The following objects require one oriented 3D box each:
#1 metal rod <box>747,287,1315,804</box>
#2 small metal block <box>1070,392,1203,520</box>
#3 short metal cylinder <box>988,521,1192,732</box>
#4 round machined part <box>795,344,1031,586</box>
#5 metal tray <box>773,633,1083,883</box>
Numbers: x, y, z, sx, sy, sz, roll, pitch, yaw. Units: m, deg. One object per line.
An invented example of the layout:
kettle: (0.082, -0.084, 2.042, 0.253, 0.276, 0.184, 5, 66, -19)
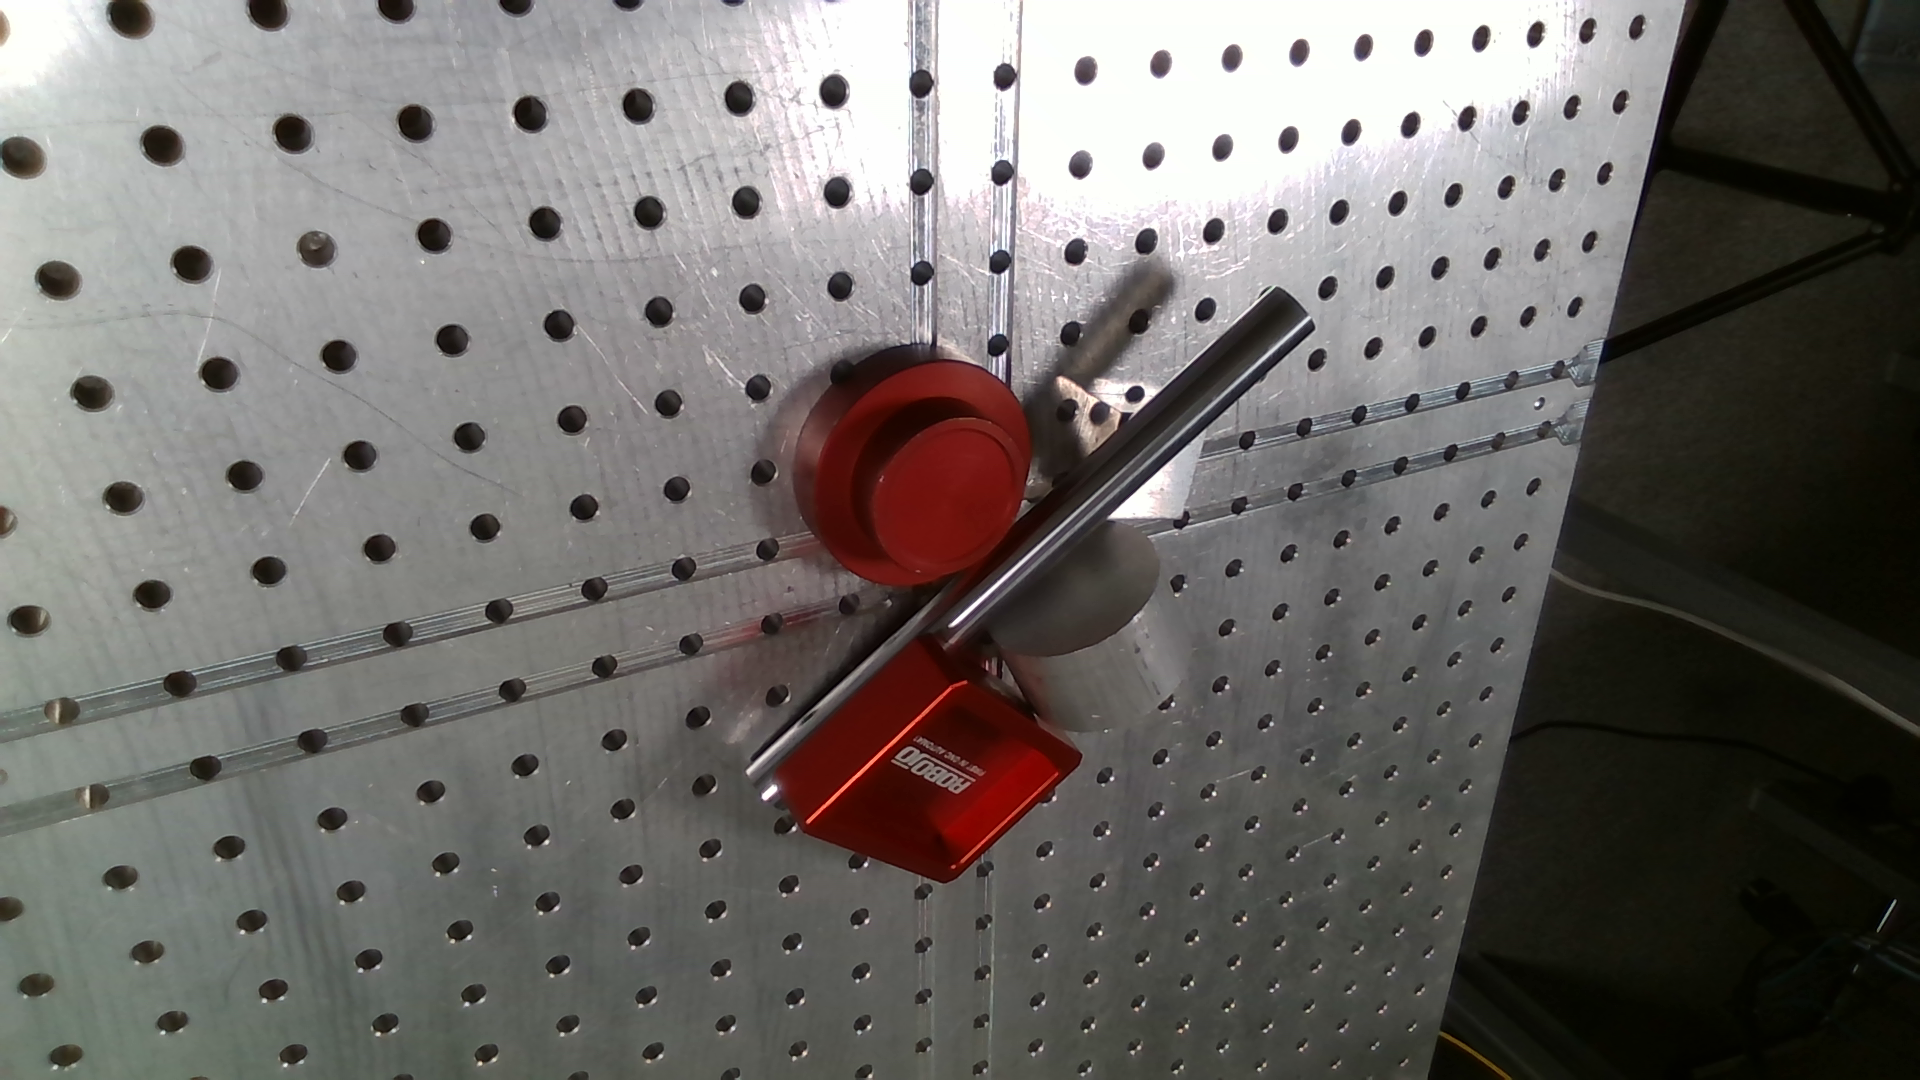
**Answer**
metal rod: (0.027, 0.005, 0.582, 0.300, 0.025, 0.025, -42, 129, 5)
small metal block: (0.078, -0.037, 0.612, 0.050, 0.025, 0.050, -1, 115, -31)
short metal cylinder: (0.056, 0.037, 0.602, 0.080, 0.080, 0.050, -36, 128, -10)
round machined part: (-0.013, -0.025, 0.550, 0.098, 0.042, 0.098, -14, 122, -25)
metal tray: (-0.010, 0.099, 0.601, 0.090, 0.030, 0.130, -44, 145, 5)
